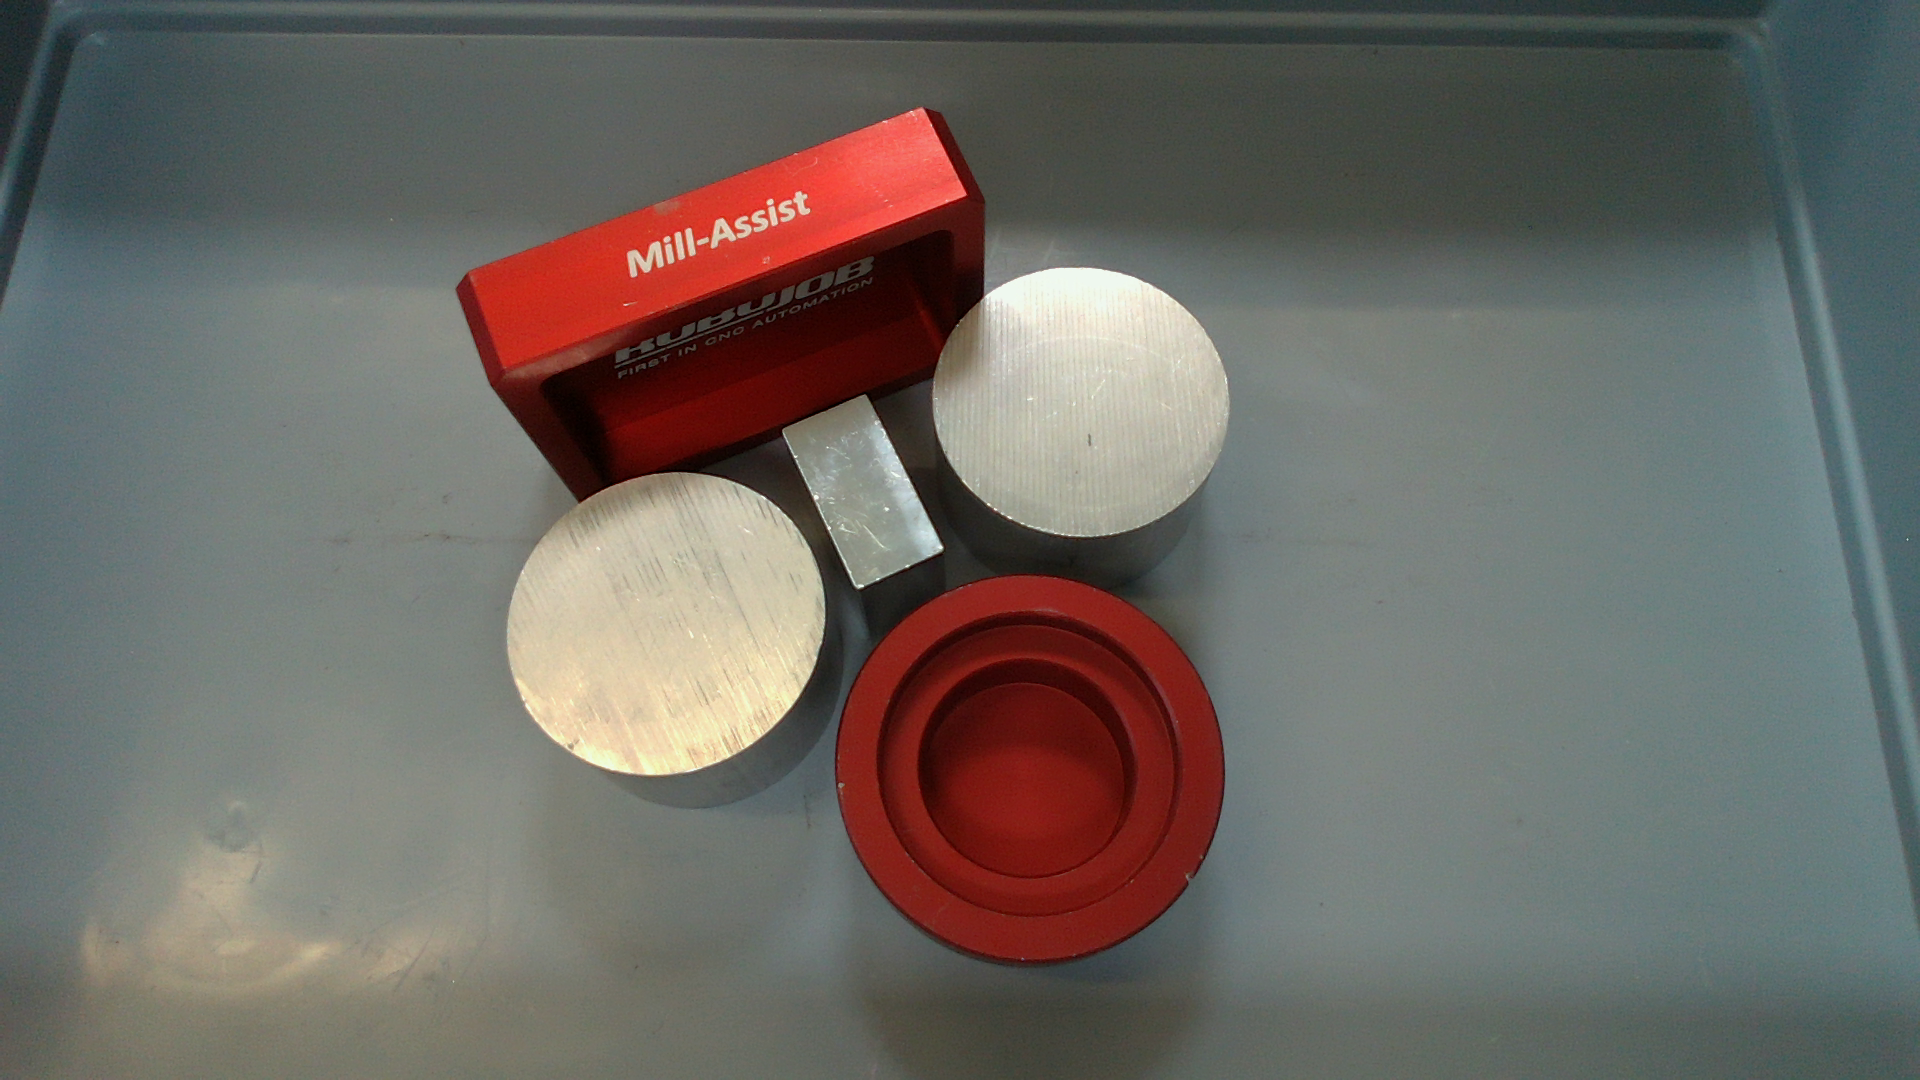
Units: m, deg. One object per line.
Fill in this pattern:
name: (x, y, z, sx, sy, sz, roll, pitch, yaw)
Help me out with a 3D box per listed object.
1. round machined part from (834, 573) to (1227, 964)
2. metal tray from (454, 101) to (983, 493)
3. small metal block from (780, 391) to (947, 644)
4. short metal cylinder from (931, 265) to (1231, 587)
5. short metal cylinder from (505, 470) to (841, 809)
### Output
round machined part: (0.018, 0.061, 0.362, 0.098, 0.042, 0.098, 0, 70, 0)
metal tray: (-0.059, -0.062, 0.380, 0.130, 0.090, 0.030, -23, 71, -7)
small metal block: (-0.026, -0.005, 0.381, 0.025, 0.050, 0.050, -24, 72, -8)
short metal cylinder: (0.032, -0.030, 0.391, 0.080, 0.050, 0.080, 0, 70, 0)
short metal cylinder: (-0.074, 0.028, 0.369, 0.080, 0.050, 0.080, 0, 70, 0)
